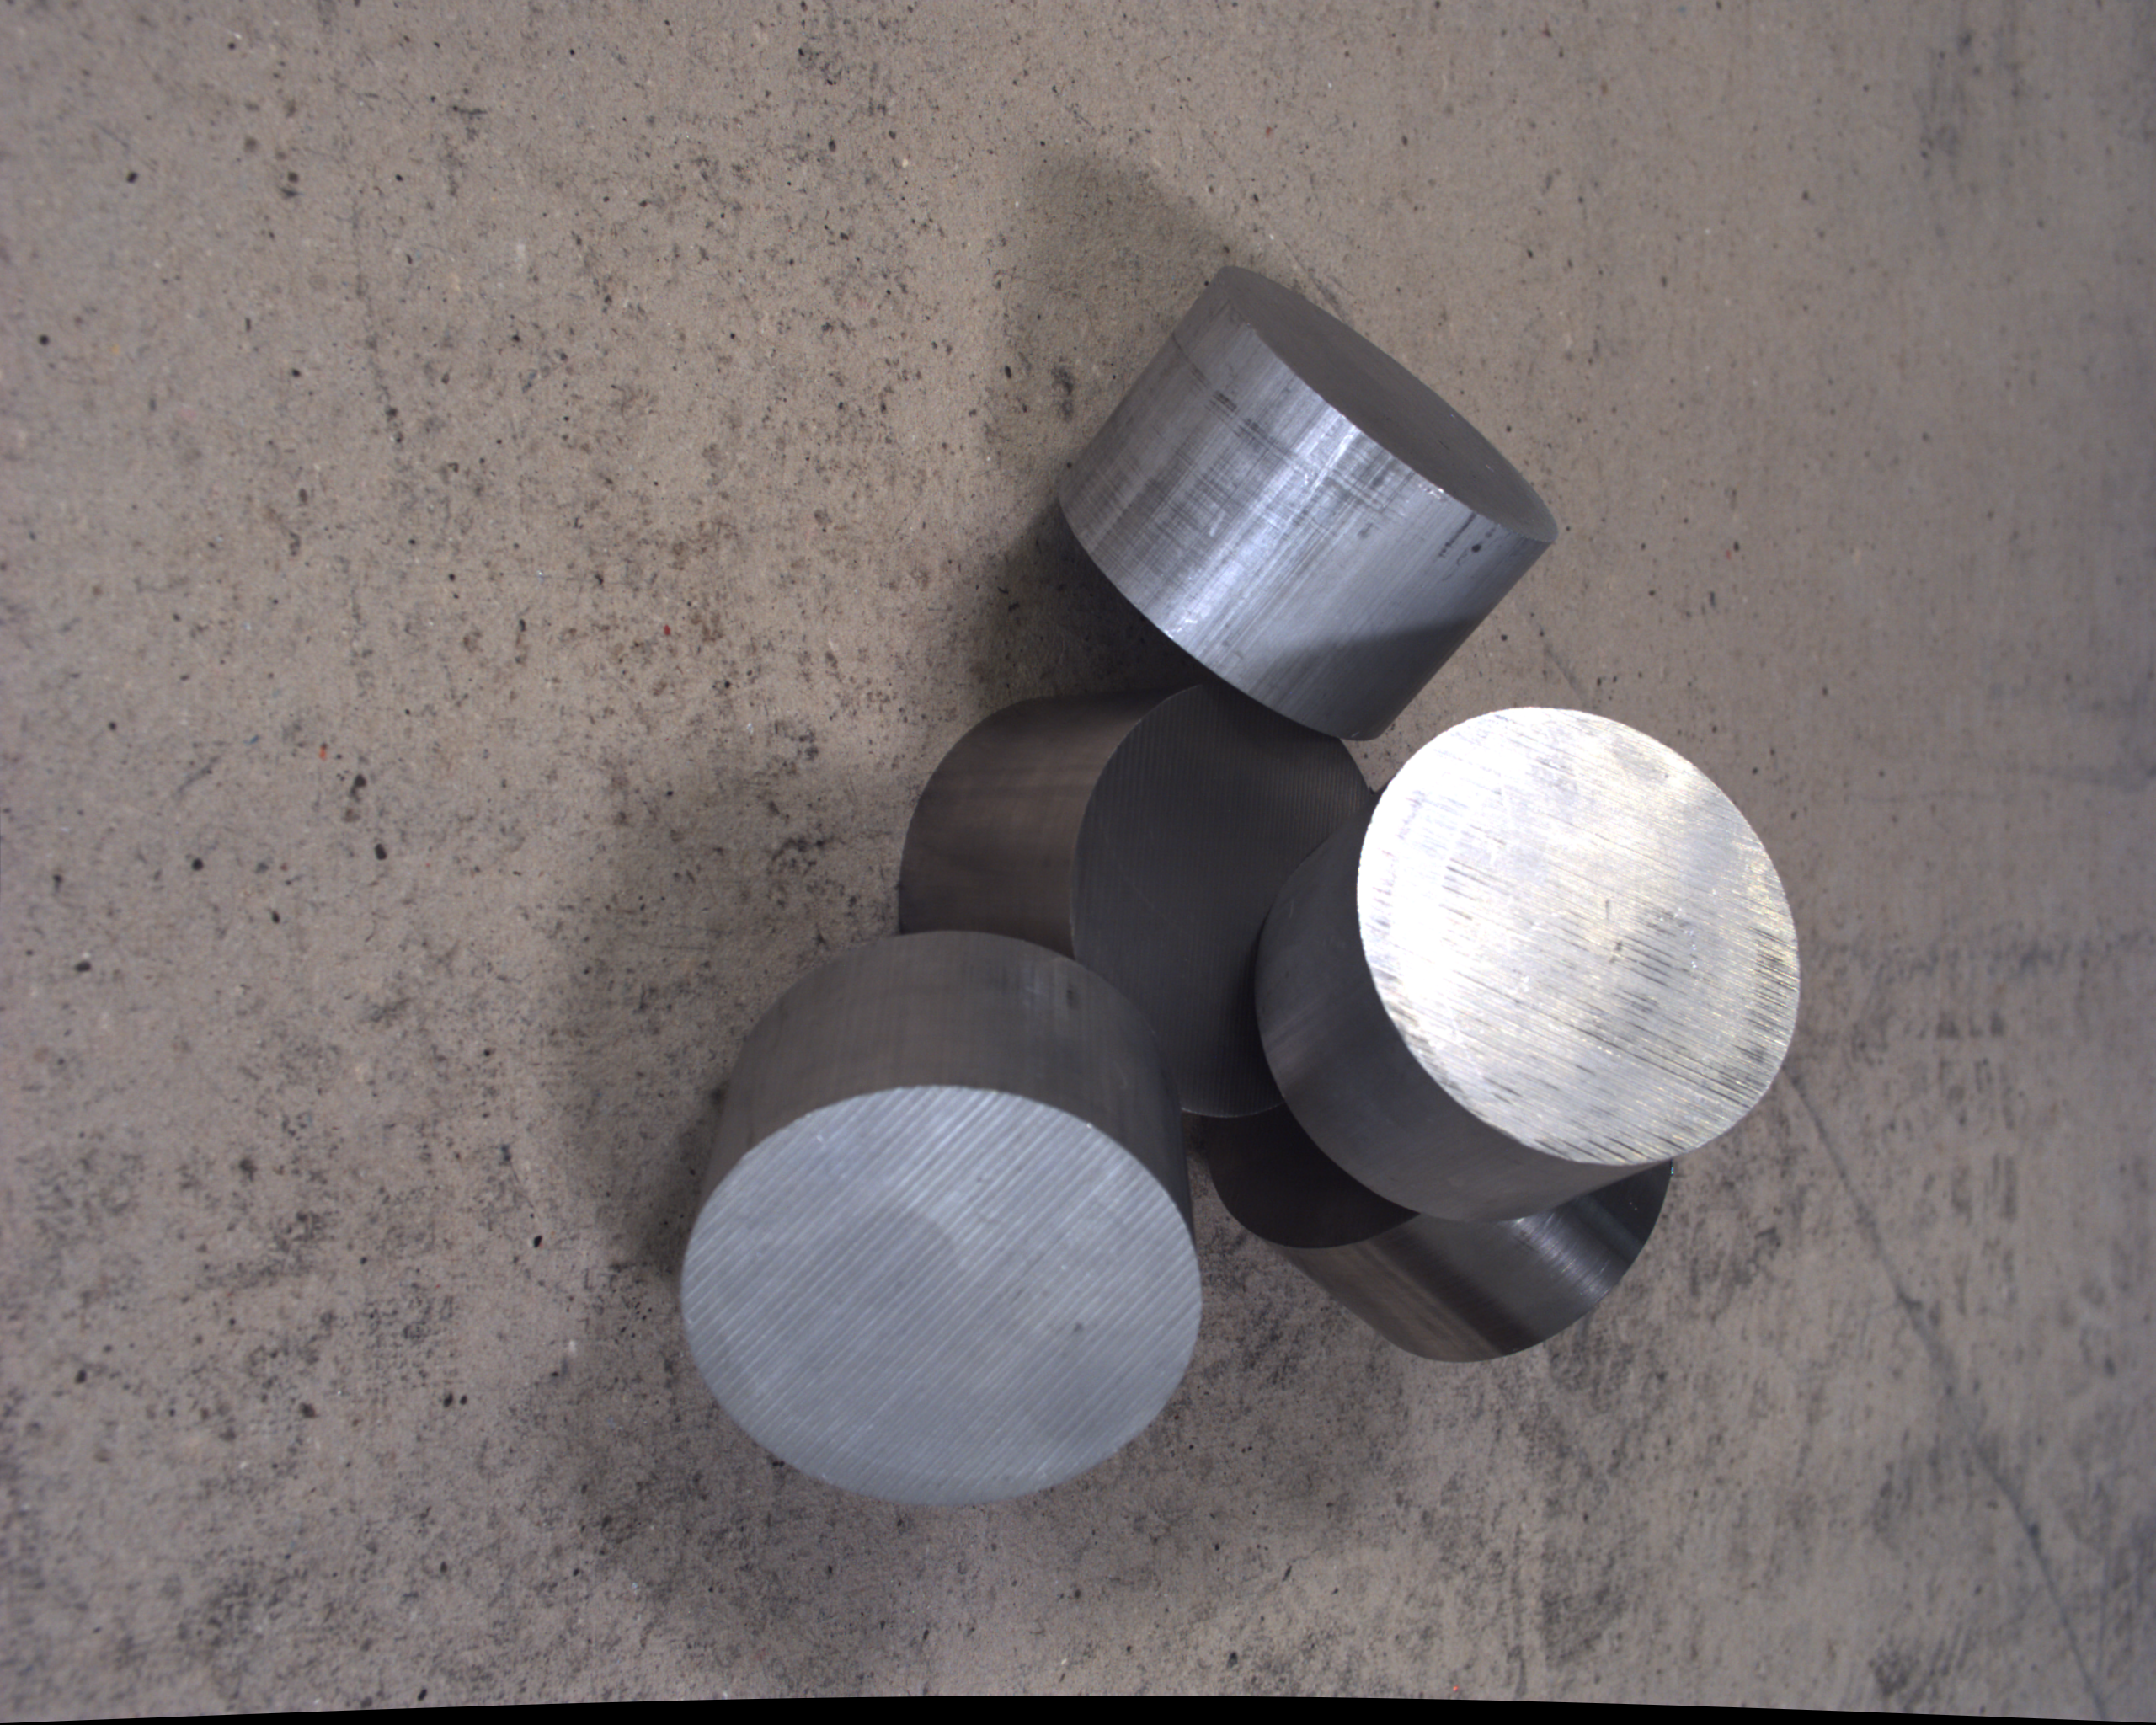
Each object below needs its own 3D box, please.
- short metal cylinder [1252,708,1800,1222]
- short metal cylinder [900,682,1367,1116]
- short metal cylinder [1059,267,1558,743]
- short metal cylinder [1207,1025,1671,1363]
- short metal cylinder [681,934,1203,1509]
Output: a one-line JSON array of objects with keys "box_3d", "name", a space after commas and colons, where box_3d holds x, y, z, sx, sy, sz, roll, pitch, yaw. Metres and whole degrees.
[{"box_3d": [0.077, 0.019, 0.368, 0.081, 0.050, 0.080, 5, 69, -14], "name": "short metal cylinder"}, {"box_3d": [0.013, 0.006, 0.401, 0.081, 0.050, 0.080, 0, 89, -40], "name": "short metal cylinder"}, {"box_3d": [0.044, -0.068, 0.399, 0.080, 0.080, 0.050, 17, 122, -39], "name": "short metal cylinder"}, {"box_3d": [0.074, 0.056, 0.432, 0.050, 0.080, 0.080, 42, 64, -32], "name": "short metal cylinder"}, {"box_3d": [-0.021, 0.059, 0.345, 0.081, 0.050, 0.079, -1, 115, -1], "name": "short metal cylinder"}]
